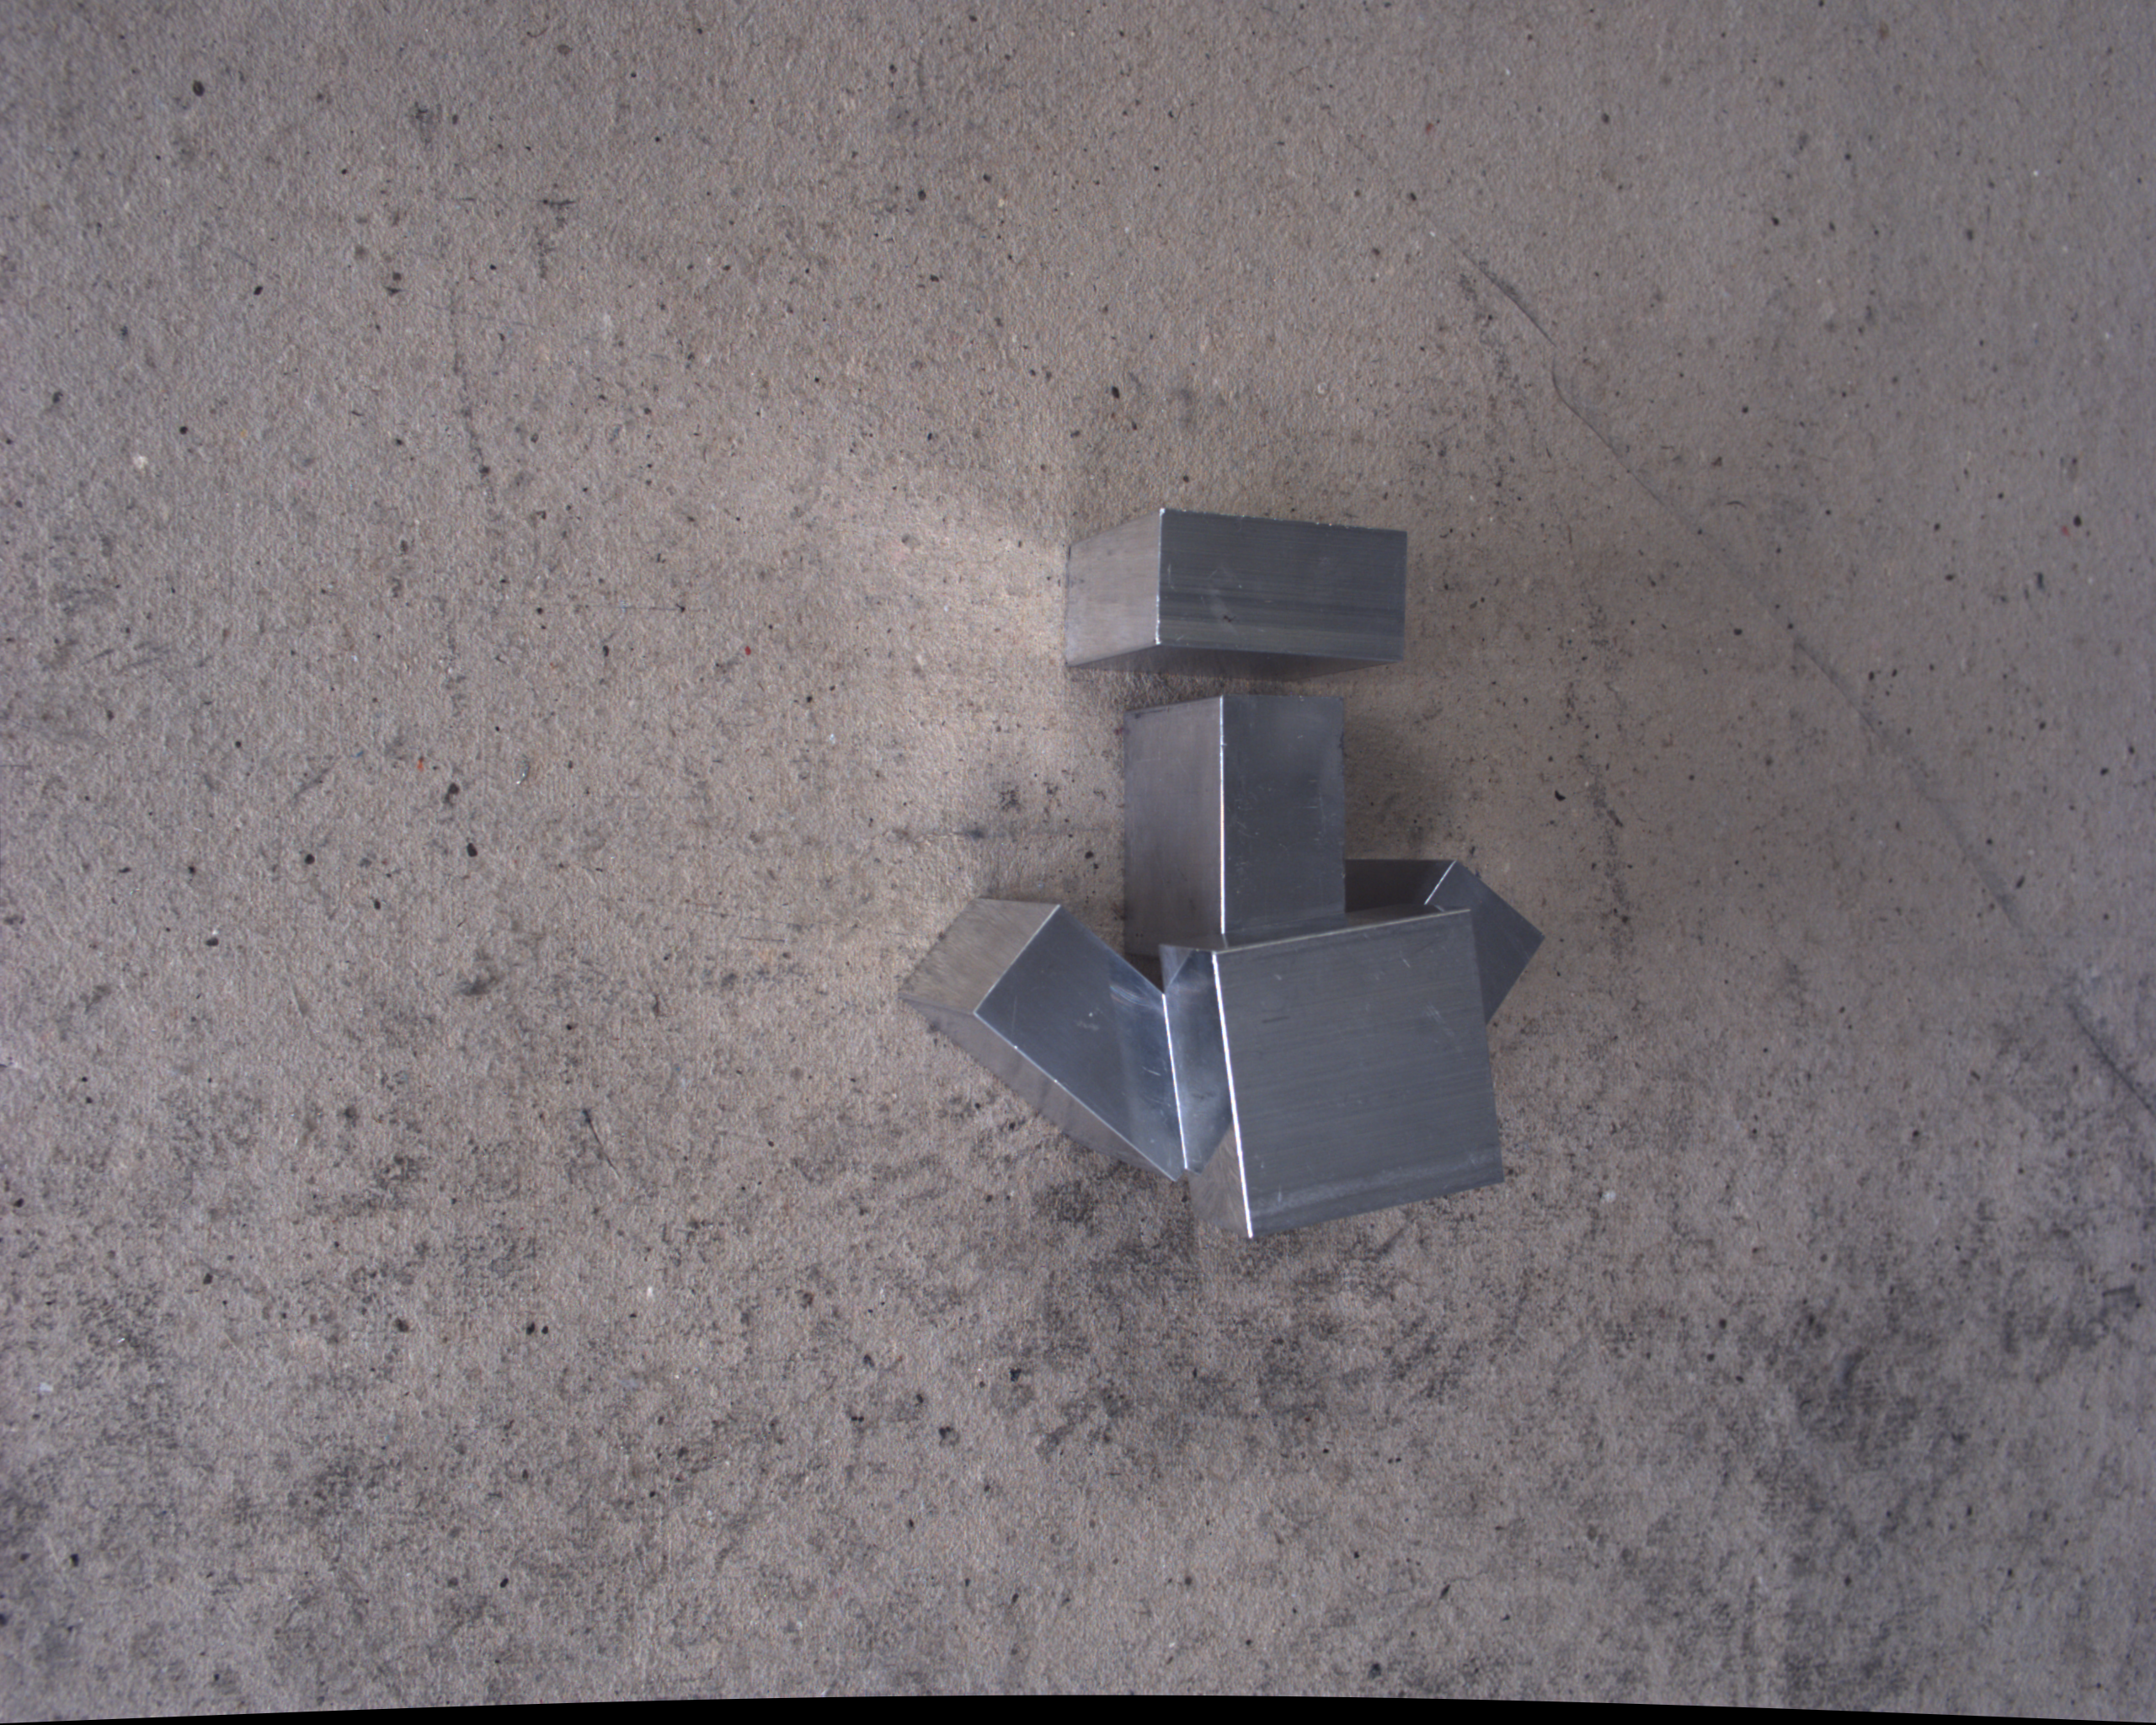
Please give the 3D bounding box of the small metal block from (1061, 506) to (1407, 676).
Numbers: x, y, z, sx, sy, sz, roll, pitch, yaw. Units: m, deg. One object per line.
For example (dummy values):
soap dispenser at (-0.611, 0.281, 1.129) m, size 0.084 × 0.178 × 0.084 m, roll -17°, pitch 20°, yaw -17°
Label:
small metal block at (0.029, -0.051, 0.407) m, size 0.050 × 0.050 × 0.025 m, roll 2°, pitch 90°, yaw -20°

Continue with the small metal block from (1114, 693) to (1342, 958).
small metal block at (0.028, -0.006, 0.408) m, size 0.025 × 0.050 × 0.050 m, roll -1°, pitch 90°, yaw -21°

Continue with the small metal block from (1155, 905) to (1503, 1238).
small metal block at (0.045, 0.036, 0.374) m, size 0.050 × 0.025 × 0.050 m, roll -9°, pitch 93°, yaw -19°

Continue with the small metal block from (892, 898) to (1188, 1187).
small metal block at (-0.002, 0.033, 0.396) m, size 0.050 × 0.050 × 0.025 m, roll 42°, pitch 76°, yaw -17°

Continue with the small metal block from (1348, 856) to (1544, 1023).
small metal block at (0.058, 0.026, 0.419) m, size 0.025 × 0.050 × 0.050 m, roll 39°, pitch 78°, yaw -16°
